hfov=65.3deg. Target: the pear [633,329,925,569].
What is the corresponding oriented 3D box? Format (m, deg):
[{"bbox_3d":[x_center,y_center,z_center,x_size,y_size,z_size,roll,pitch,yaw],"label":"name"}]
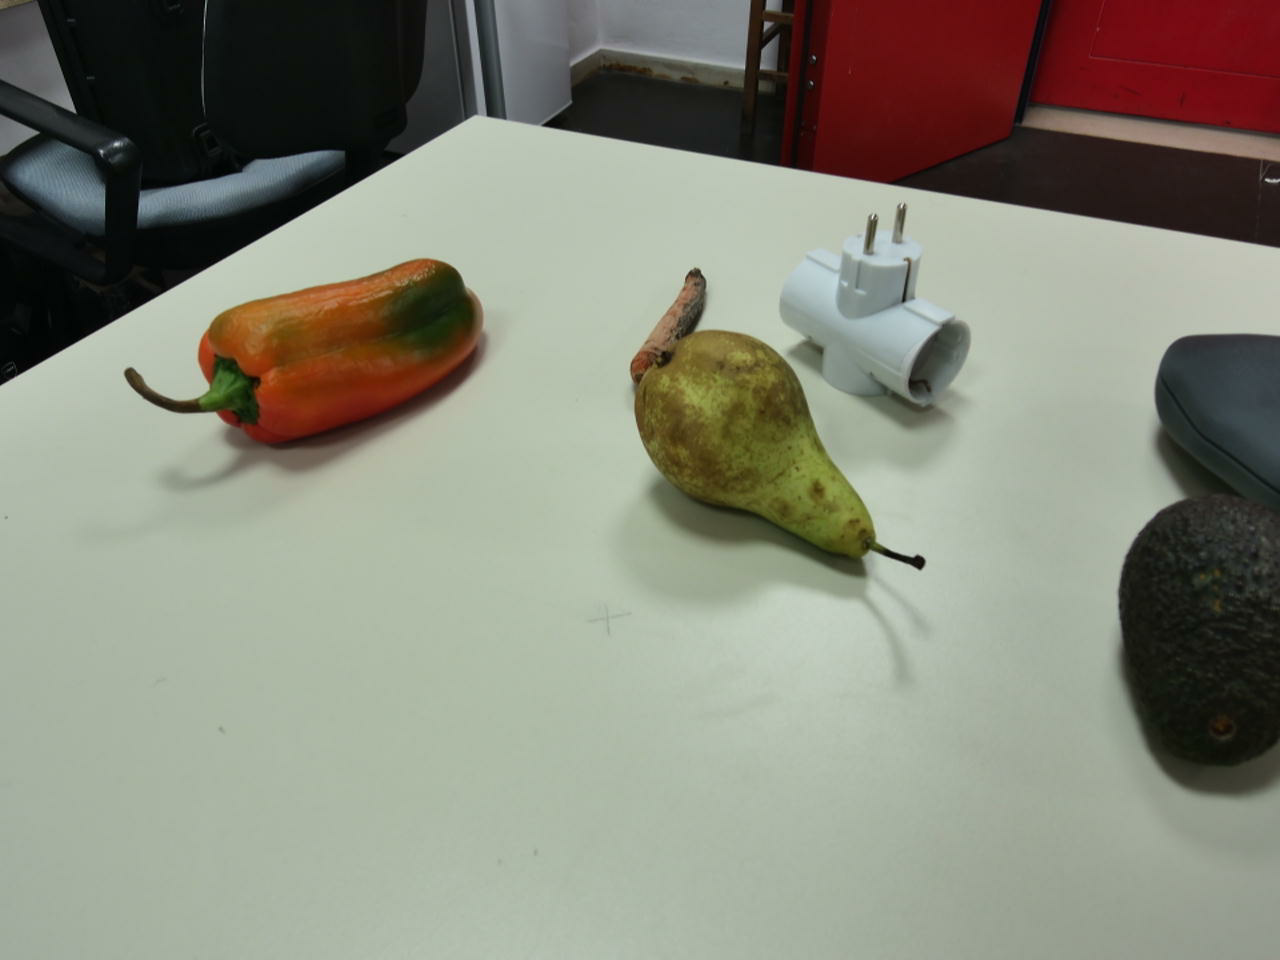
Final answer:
[{"bbox_3d":[0.063,-0.016,0.417,0.144,0.075,0.071,22,43,27],"label":"pear"}]
